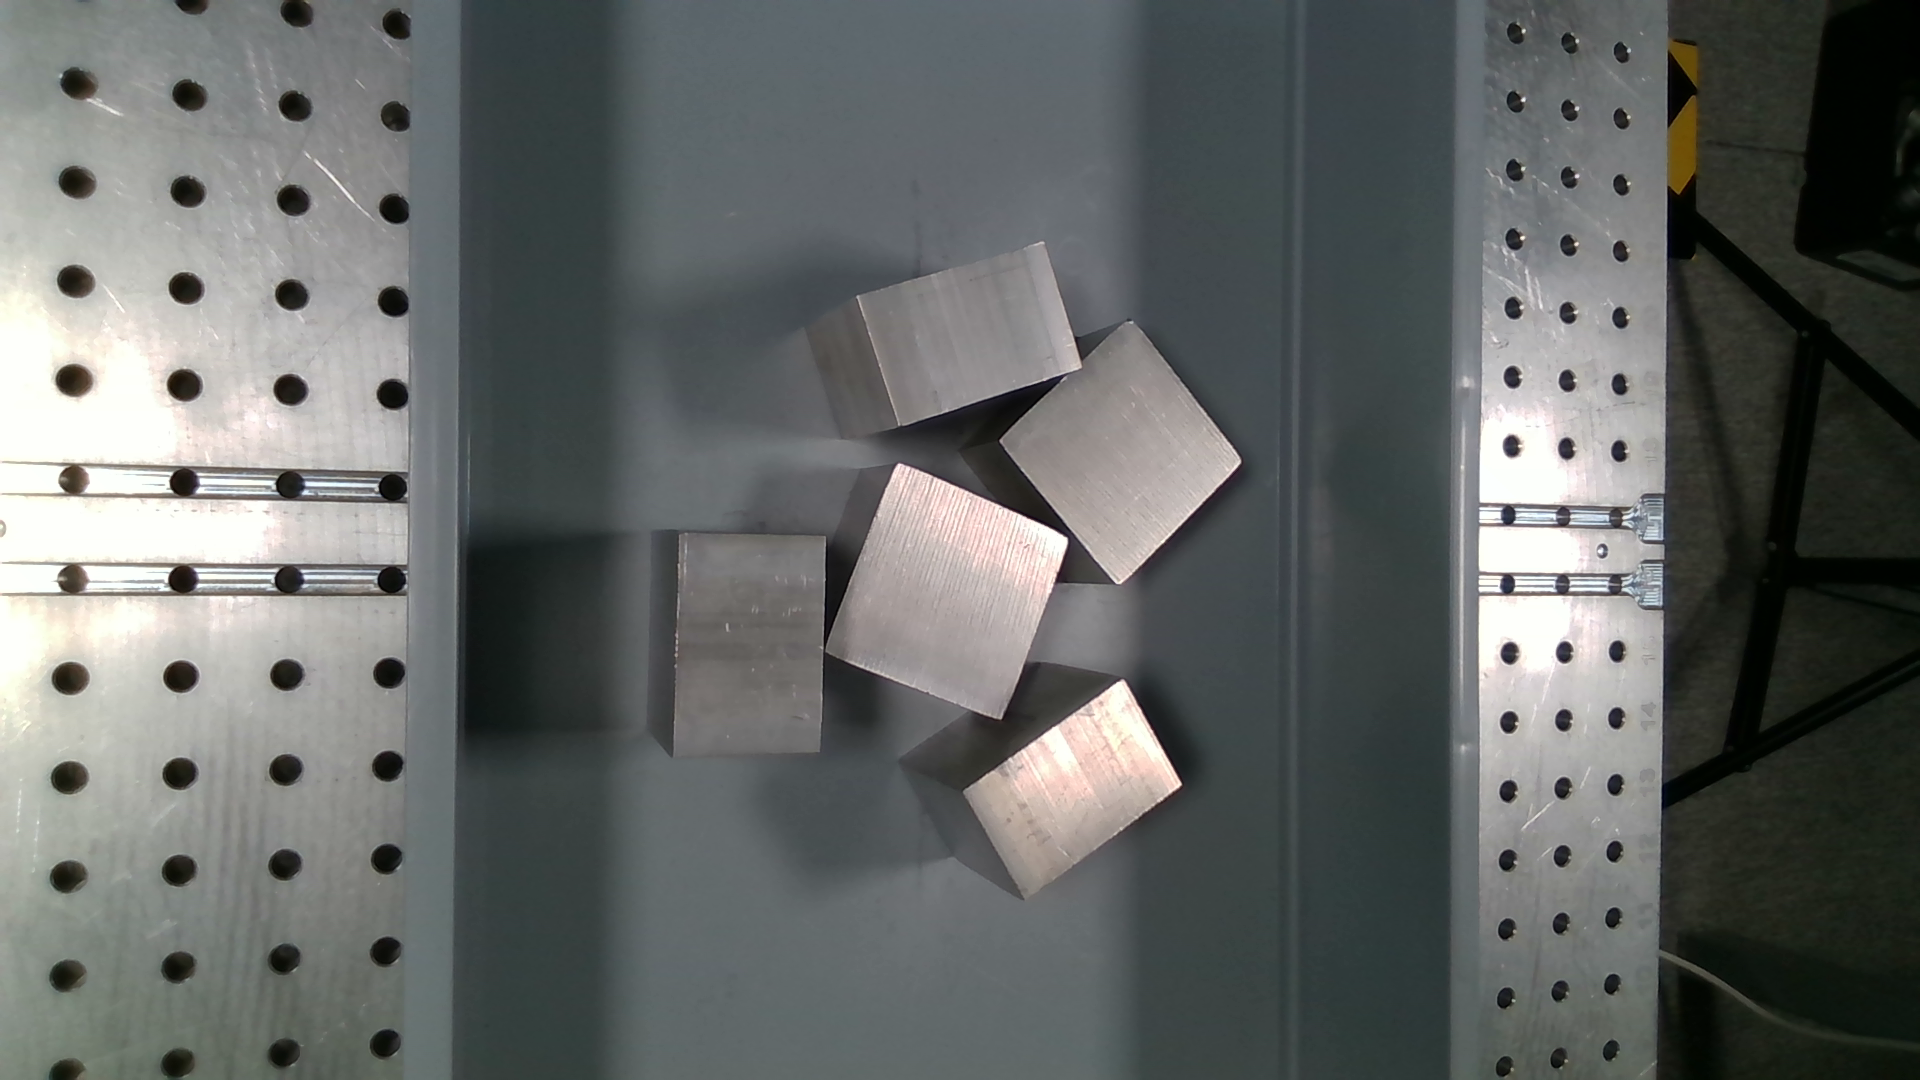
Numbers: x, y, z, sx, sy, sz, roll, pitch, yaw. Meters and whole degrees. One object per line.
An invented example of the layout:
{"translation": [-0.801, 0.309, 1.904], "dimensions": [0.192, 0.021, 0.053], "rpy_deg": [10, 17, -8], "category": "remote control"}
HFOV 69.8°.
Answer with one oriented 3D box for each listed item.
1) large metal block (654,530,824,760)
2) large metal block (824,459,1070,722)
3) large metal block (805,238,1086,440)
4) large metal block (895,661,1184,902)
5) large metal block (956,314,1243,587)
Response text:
{"translation": [-0.087, 0.037, 0.524], "dimensions": [0.050, 0.080, 0.080], "rpy_deg": [1, 90, -20], "category": "large metal block"}
{"translation": [-0.013, 0.021, 0.567], "dimensions": [0.080, 0.050, 0.080], "rpy_deg": [24, 82, -19], "category": "large metal block"}
{"translation": [-0.008, -0.079, 0.552], "dimensions": [0.080, 0.080, 0.050], "rpy_deg": [-20, 97, -19], "category": "large metal block"}
{"translation": [0.031, 0.095, 0.567], "dimensions": [0.080, 0.080, 0.050], "rpy_deg": [-33, 101, -17], "category": "large metal block"}
{"translation": [0.059, -0.037, 0.593], "dimensions": [0.080, 0.050, 0.080], "rpy_deg": [-44, 104, -15], "category": "large metal block"}
